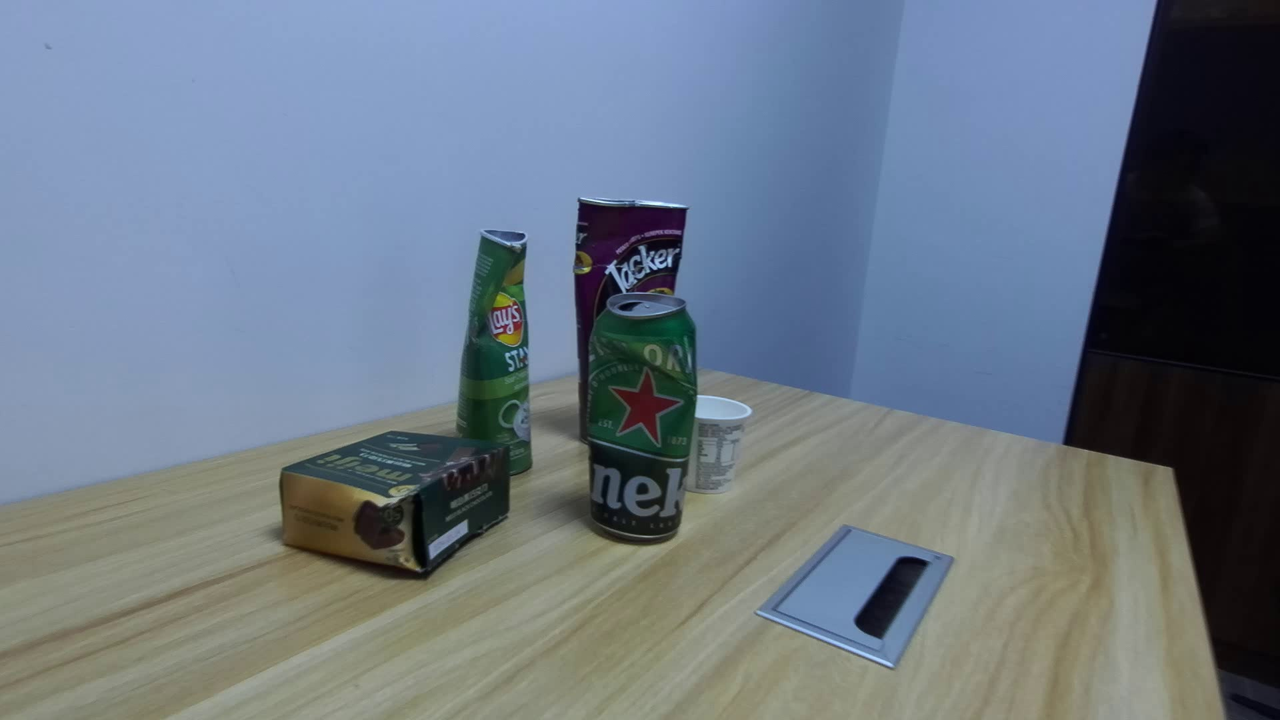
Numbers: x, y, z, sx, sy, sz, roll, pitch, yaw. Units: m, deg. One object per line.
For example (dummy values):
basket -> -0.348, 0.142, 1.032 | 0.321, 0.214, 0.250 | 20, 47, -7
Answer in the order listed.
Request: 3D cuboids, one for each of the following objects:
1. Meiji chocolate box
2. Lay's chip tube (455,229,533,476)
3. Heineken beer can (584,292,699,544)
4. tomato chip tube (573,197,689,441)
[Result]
Meiji chocolate box -> -0.163, 0.091, 0.480 | 0.115, 0.058, 0.123 | 7, 11, 18
Lay's chip tube -> -0.121, -0.007, 0.599 | 0.069, 0.201, 0.077 | -2, 17, -29
Heineken beer can -> 0.001, 0.042, 0.496 | 0.069, 0.168, 0.068 | -2, 15, -17
tomato chip tube -> -0.016, -0.034, 0.682 | 0.090, 0.235, 0.078 | 9, 15, 11
